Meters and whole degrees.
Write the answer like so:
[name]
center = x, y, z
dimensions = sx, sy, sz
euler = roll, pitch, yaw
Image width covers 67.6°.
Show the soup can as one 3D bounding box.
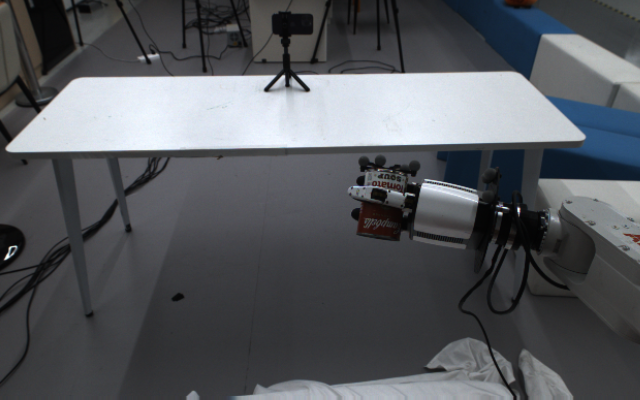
[soup can]
center = 0.096, 0.008, 0.741
dimensions = 0.067, 0.101, 0.067
euler = 9, -6, 1
